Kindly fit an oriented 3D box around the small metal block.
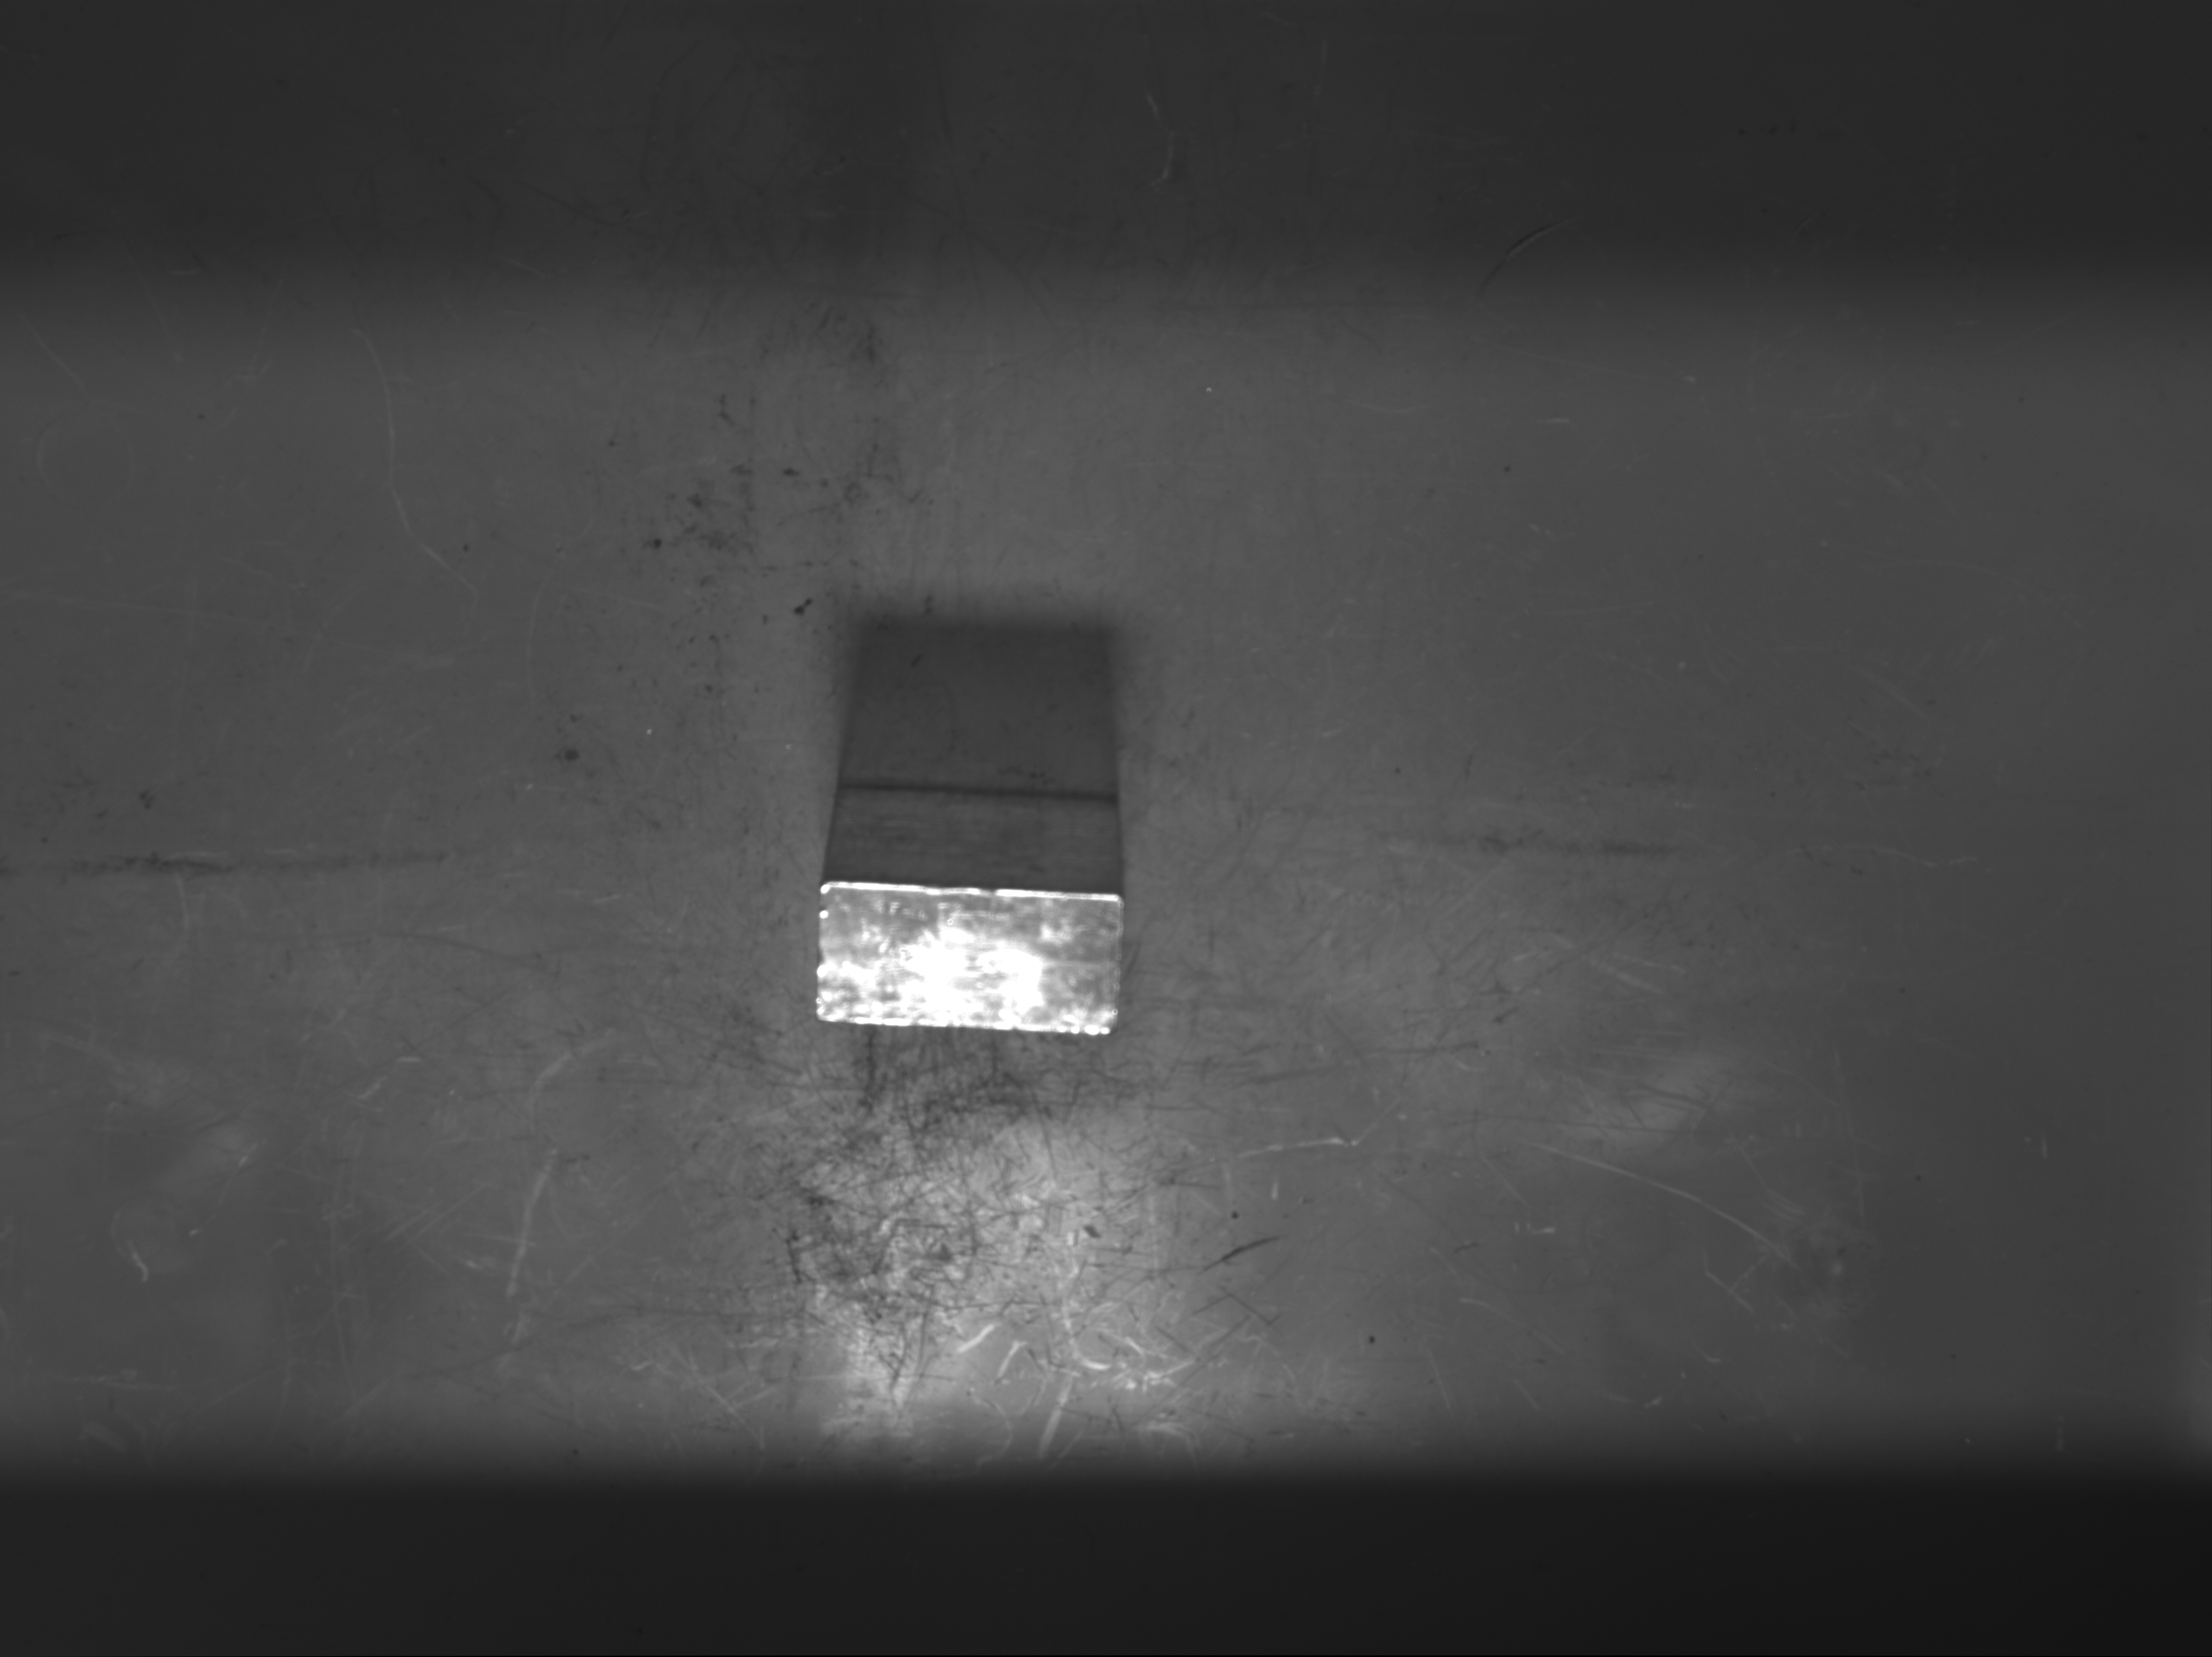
[{"bbox_3d":[-0.022,0.014,0.631,0.050,0.050,0.025,3,110,-2],"label":"small metal block"}]
